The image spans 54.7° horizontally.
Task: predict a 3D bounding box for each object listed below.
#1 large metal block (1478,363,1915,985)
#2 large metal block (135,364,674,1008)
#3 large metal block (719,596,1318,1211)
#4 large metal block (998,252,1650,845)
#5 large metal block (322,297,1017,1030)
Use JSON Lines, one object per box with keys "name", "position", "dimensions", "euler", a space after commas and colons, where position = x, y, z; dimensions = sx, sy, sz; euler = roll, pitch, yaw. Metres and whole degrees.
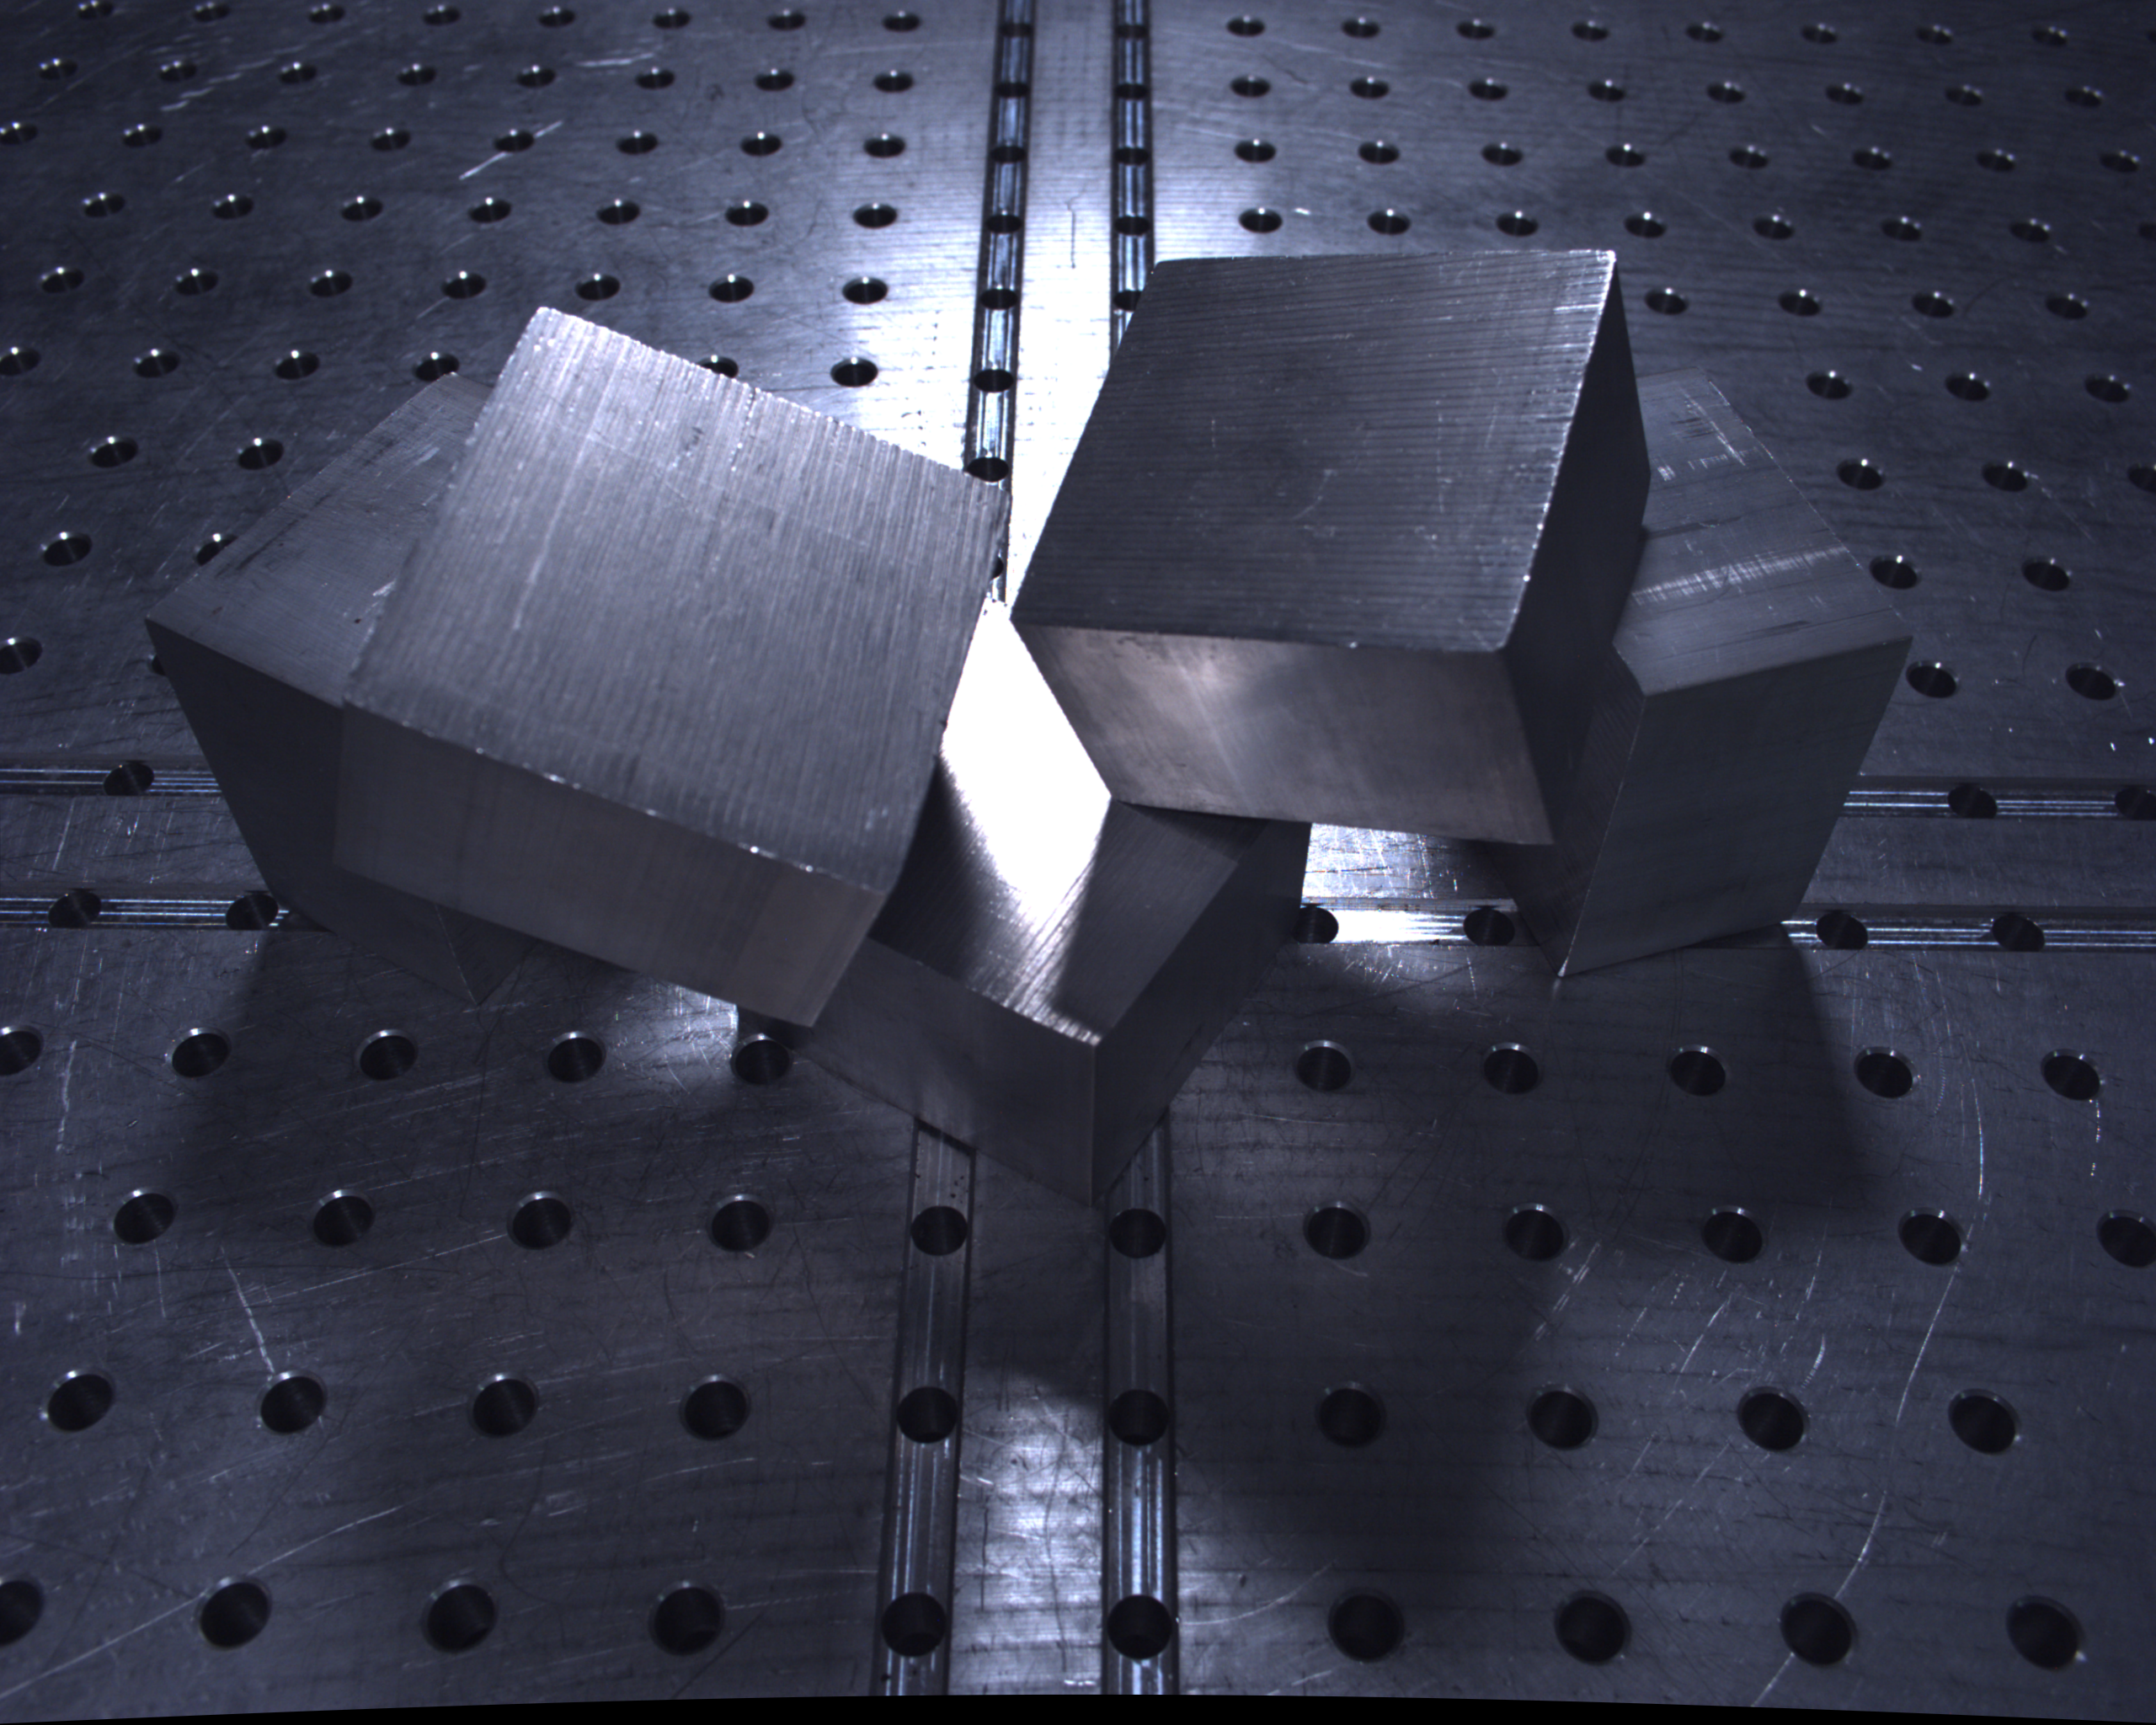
{"name": "large metal block", "position": [0.106, -0.036, 0.404], "dimensions": [0.050, 0.080, 0.080], "euler": [-13, 51, -11]}
{"name": "large metal block", "position": [-0.118, -0.034, 0.398], "dimensions": [0.050, 0.080, 0.080], "euler": [24, 54, 18]}
{"name": "large metal block", "position": [-0.010, 0.004, 0.387], "dimensions": [0.080, 0.050, 0.080], "euler": [26, 54, 19]}
{"name": "large metal block", "position": [0.044, -0.054, 0.347], "dimensions": [0.080, 0.050, 0.080], "euler": [7, 62, 25]}
{"name": "large metal block", "position": [-0.064, -0.030, 0.331], "dimensions": [0.080, 0.050, 0.080], "euler": [20, 57, -10]}
